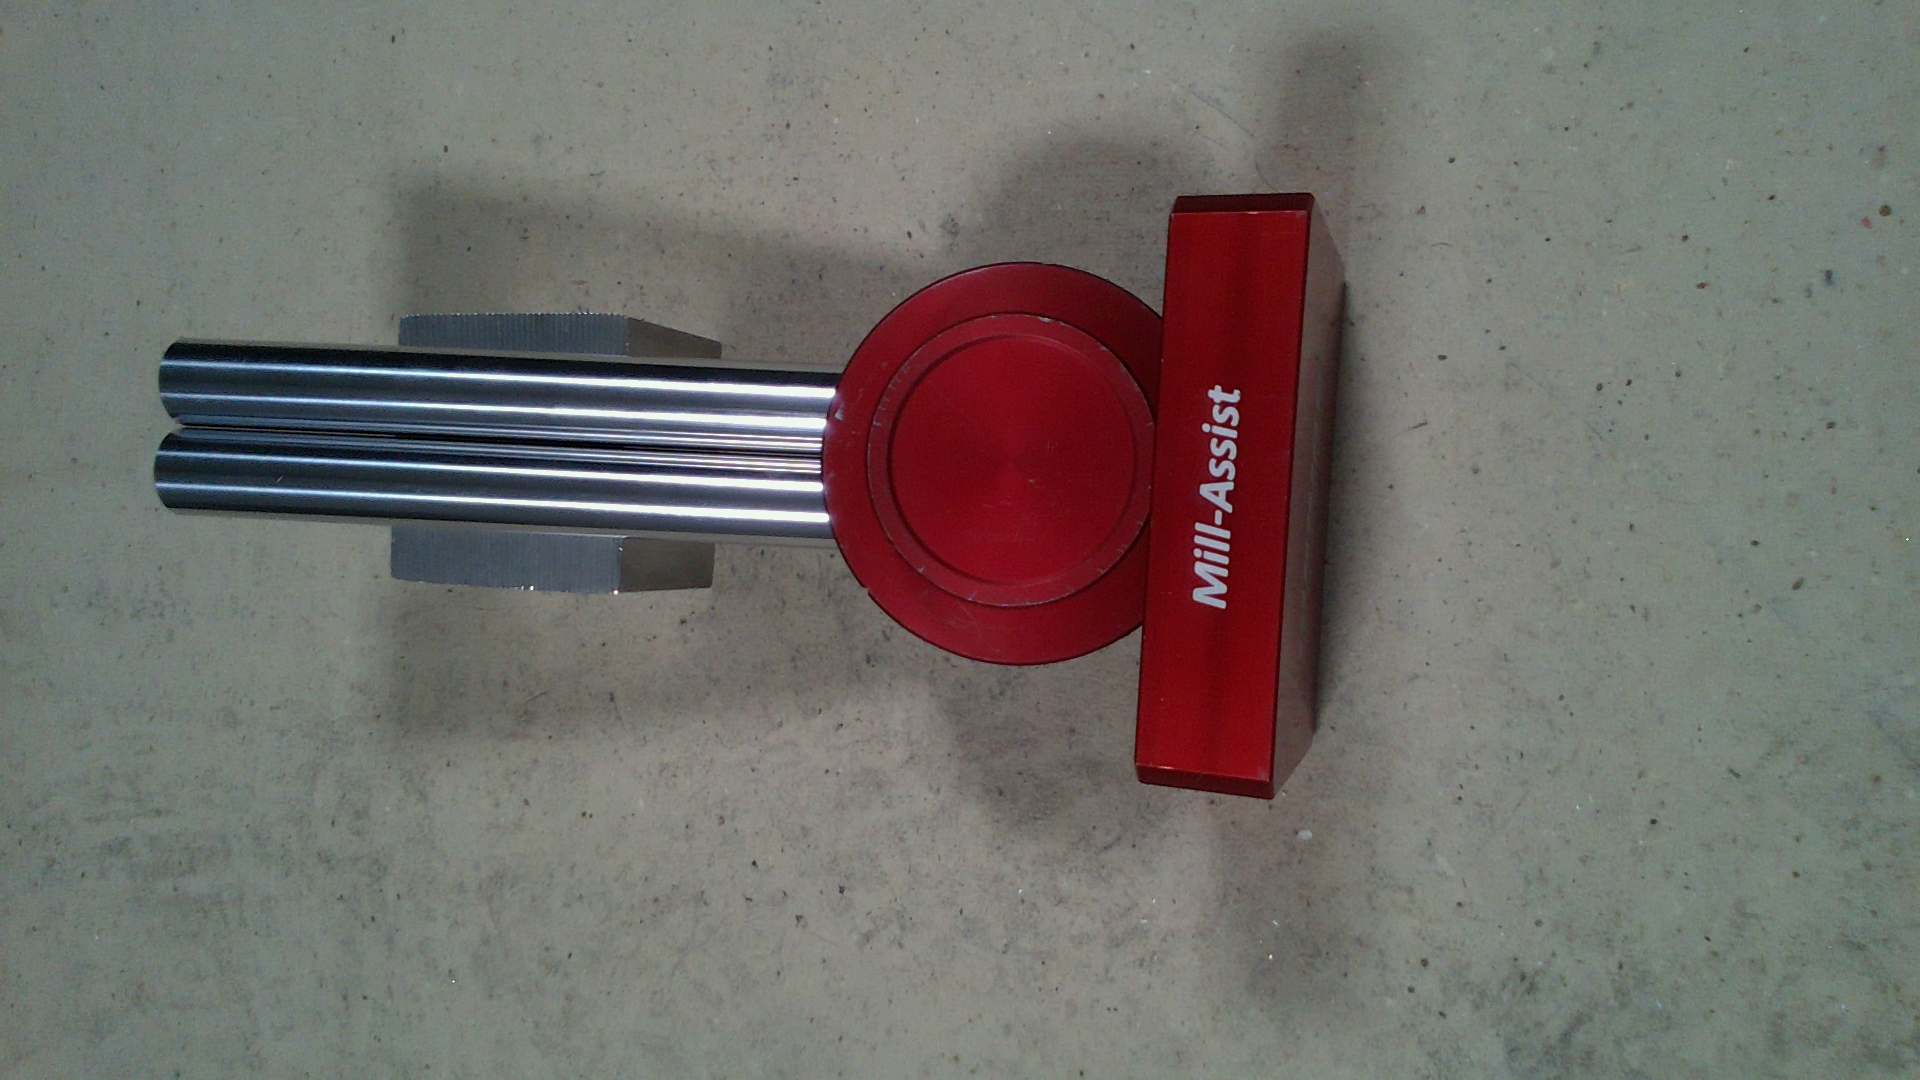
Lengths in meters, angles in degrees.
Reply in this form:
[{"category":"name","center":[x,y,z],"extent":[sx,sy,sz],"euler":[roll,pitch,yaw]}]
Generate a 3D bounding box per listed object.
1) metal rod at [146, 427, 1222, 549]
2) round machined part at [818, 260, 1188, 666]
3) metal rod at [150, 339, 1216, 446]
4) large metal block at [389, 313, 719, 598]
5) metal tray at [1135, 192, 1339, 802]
[{"category":"metal rod","center":[-0.076,-0.012,0.376],"extent":[0.300,0.025,0.025],"euler":[3,91,7]},{"category":"round machined part","center":[0.013,-0.018,0.330],"extent":[0.098,0.042,0.098],"euler":[0,92,9]},{"category":"metal rod","center":[-0.074,-0.039,0.375],"extent":[0.300,0.025,0.025],"euler":[2,91,7]},{"category":"large metal block","center":[-0.124,-0.026,0.424],"extent":[0.080,0.050,0.080],"euler":[3,91,20]},{"category":"metal tray","center":[0.071,-0.010,0.335],"extent":[0.030,0.090,0.130],"euler":[4,91,20]}]
